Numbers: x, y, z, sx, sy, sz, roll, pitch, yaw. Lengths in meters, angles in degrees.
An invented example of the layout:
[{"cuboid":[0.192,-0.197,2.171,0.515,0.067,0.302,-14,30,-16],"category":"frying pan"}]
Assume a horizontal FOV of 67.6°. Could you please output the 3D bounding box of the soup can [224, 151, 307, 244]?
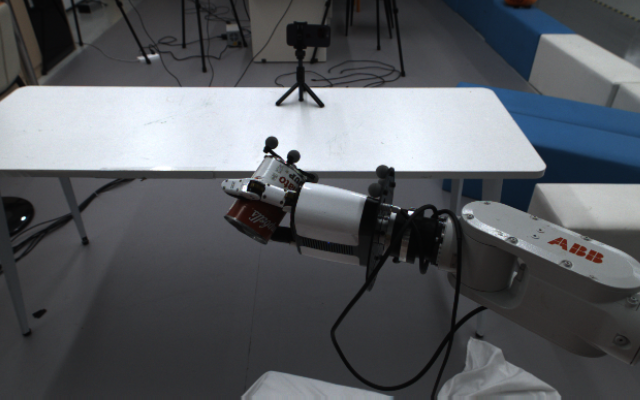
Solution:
[{"cuboid":[-0.071,0.000,0.647,0.067,0.067,0.101,24,73,28],"category":"soup can"}]
